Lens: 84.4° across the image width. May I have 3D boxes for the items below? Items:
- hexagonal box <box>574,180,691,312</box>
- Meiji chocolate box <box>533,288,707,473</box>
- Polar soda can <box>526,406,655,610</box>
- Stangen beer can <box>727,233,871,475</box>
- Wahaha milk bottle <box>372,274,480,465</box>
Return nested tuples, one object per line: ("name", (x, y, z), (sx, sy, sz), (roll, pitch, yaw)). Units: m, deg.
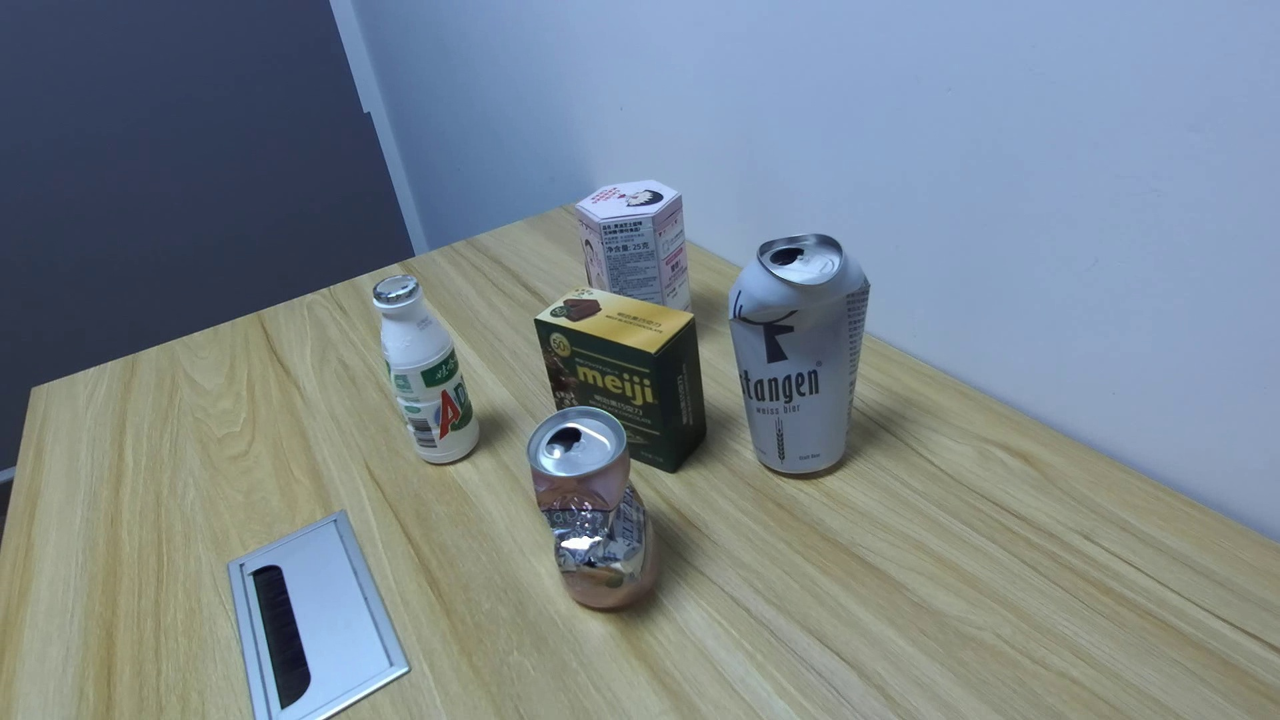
("hexagonal box", (-0.004, -0.079, 0.626), (0.083, 0.136, 0.091), (13, 39, 28))
("Meiji chocolate box", (-0.012, 0.013, 0.520), (0.109, 0.109, 0.056), (17, 42, 32))
("Polar soda can", (-0.025, 0.089, 0.413), (0.070, 0.114, 0.074), (-36, 40, -25))
("Stangen beer can", (0.104, 0.001, 0.465), (0.065, 0.162, 0.077), (21, 45, 35))
("Wahaha milk bottle", (-0.161, 0.013, 0.529), (0.053, 0.137, 0.053), (-5, 34, 4))
